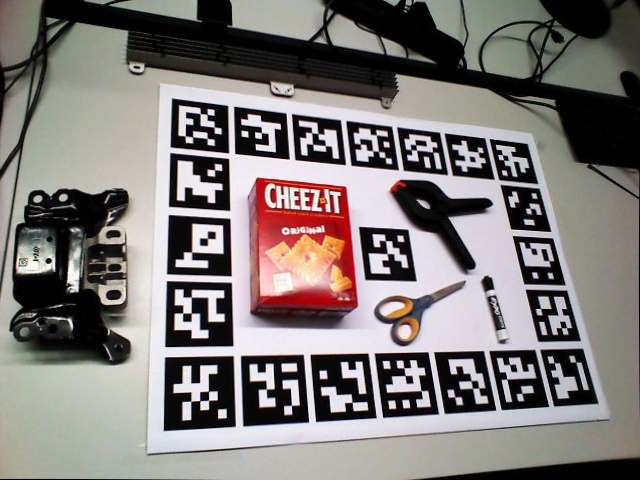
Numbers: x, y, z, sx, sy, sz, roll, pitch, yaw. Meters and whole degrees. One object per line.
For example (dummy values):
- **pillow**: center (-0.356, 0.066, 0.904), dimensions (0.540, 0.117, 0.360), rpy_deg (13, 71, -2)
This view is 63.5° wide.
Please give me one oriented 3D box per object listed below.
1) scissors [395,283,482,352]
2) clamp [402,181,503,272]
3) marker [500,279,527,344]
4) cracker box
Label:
- **scissors**: center (0.217, 0.117, 0.905), dimensions (0.201, 0.016, 0.087), rpy_deg (-26, 77, -29)
- **clamp**: center (0.249, -0.051, 0.995), dimensions (0.203, 0.037, 0.164), rpy_deg (31, 60, -5)
- **marker**: center (0.353, 0.129, 0.946), dimensions (0.019, 0.020, 0.120), rpy_deg (0, 67, -19)
- **cracker box**: center (-0.002, 0.020, 0.842), dimensions (0.164, 0.072, 0.212), rpy_deg (4, 66, -17)
